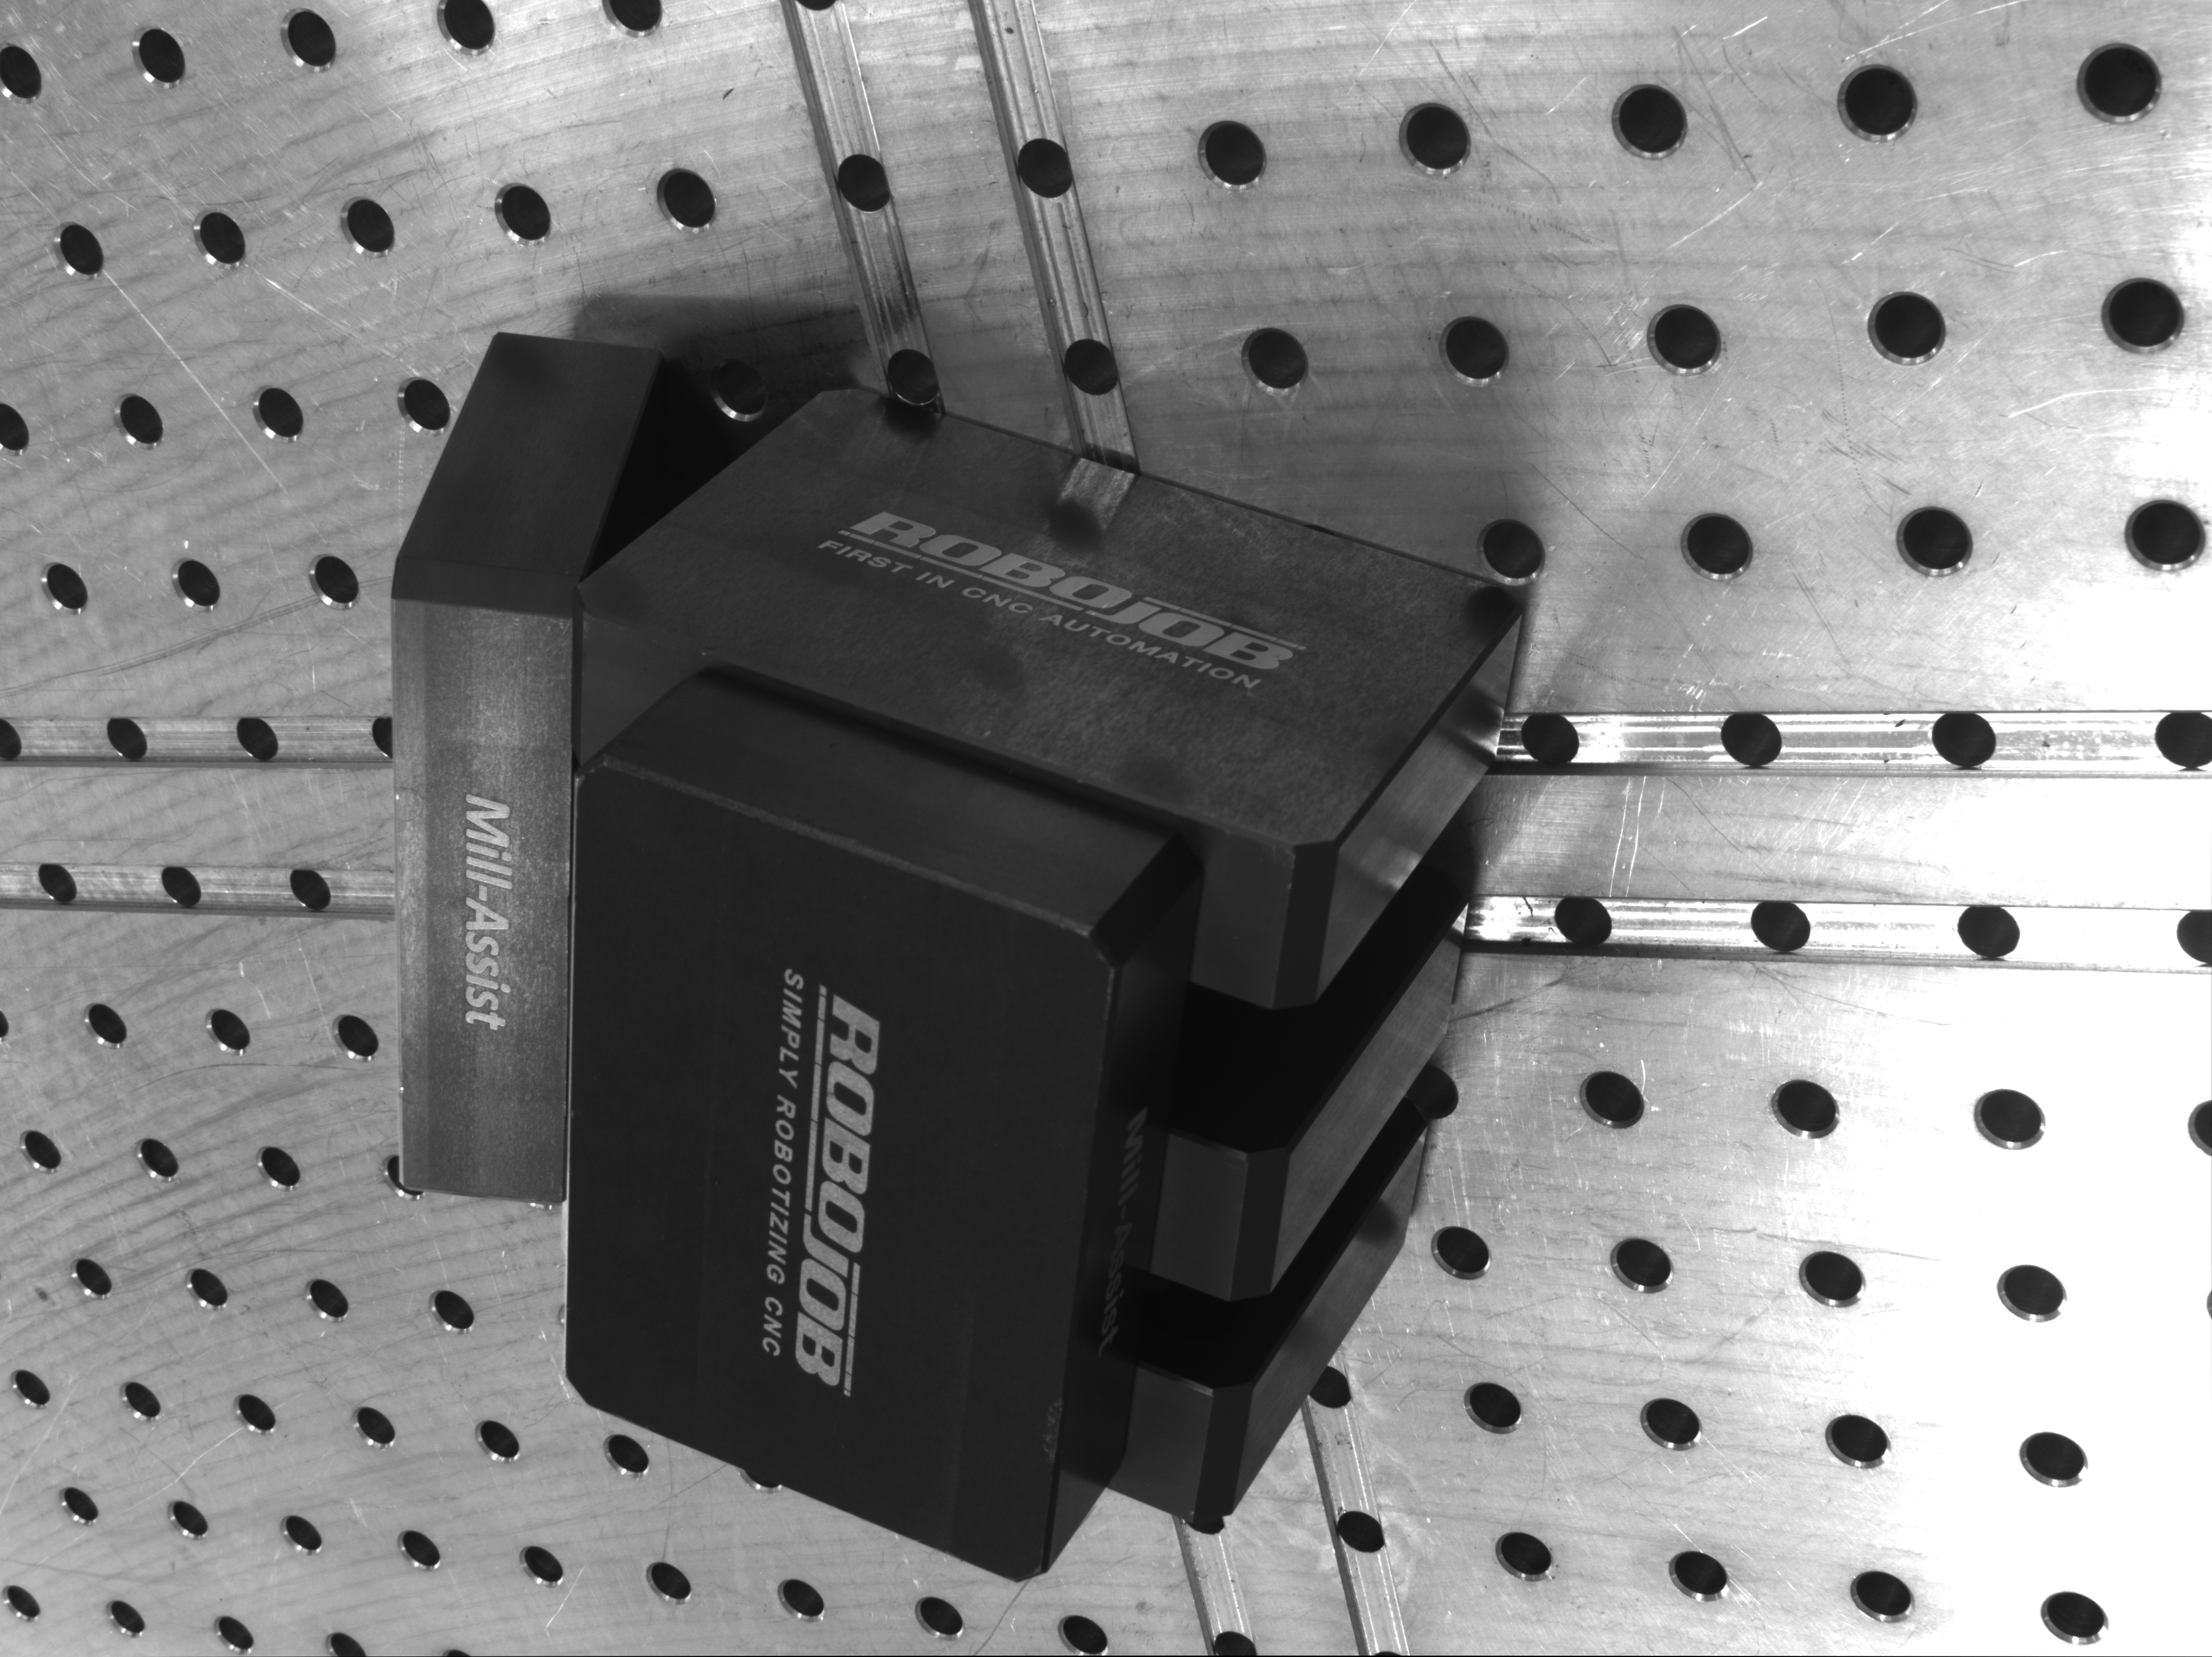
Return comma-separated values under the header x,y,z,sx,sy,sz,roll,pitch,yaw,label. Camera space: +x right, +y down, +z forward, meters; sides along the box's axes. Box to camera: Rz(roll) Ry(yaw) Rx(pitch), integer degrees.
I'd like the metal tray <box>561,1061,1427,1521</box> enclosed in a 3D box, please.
x,y,z,sx,sy,sz,roll,pitch,yaw,label
-0.019,0.063,0.653,0.130,0.090,0.030,19,126,17,metal tray

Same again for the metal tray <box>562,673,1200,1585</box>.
x,y,z,sx,sy,sz,roll,pitch,yaw,label
-0.038,0.049,0.576,0.090,0.030,0.130,19,126,17,metal tray

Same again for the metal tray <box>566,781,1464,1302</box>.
x,y,z,sx,sy,sz,roll,pitch,yaw,label
-0.015,0.025,0.626,0.130,0.090,0.030,18,124,17,metal tray

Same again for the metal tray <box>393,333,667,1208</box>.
x,y,z,sx,sy,sz,roll,pitch,yaw,label
-0.101,-0.010,0.649,0.030,0.090,0.130,6,124,-1,metal tray

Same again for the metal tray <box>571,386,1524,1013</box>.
x,y,z,sx,sy,sz,roll,pitch,yaw,label
-0.009,-0.025,0.593,0.130,0.090,0.030,19,126,18,metal tray
